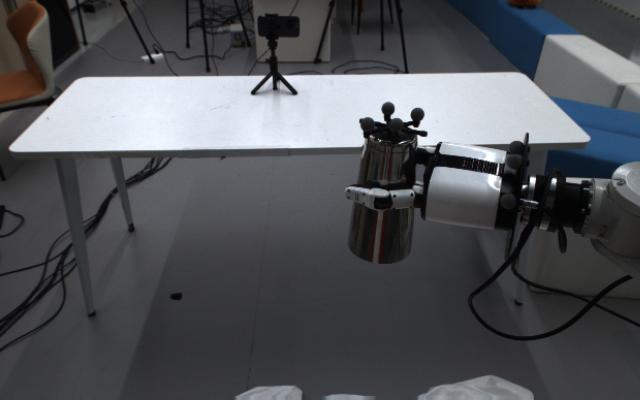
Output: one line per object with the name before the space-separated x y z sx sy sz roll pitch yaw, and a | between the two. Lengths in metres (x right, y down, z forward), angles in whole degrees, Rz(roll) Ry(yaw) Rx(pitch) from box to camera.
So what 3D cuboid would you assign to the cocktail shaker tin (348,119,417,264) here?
cocktail shaker tin | 0.091 -0.011 0.653 0.093 0.170 0.093 1 30 -1
